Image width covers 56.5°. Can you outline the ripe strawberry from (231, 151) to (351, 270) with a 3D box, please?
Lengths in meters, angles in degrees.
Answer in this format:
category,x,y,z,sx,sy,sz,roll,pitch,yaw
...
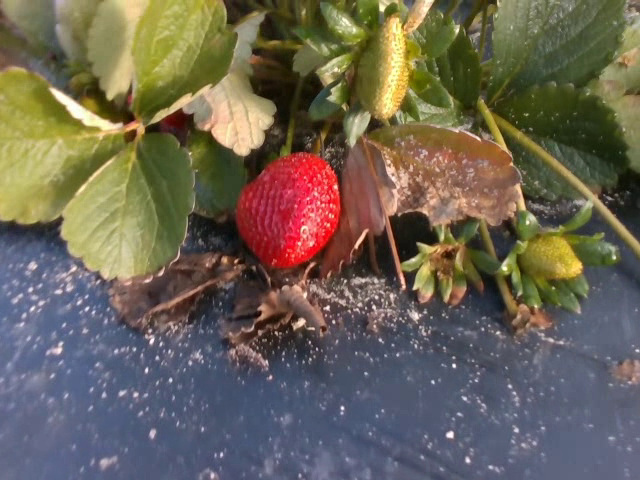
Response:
category,x,y,z,sx,sy,sz,roll,pitch,yaw
ripe strawberry,-0.008,-0.005,0.135,0.031,0.026,0.030,-14,34,-2
